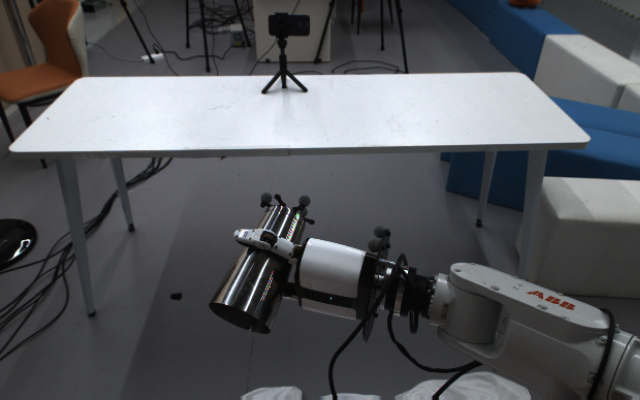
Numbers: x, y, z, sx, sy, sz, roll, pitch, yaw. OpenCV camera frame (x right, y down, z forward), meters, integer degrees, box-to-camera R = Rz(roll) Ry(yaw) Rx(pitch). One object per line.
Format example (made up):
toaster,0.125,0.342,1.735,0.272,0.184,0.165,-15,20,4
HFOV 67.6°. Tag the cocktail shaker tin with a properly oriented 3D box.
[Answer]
cocktail shaker tin,-0.082,0.093,0.697,0.093,0.093,0.170,13,58,16
